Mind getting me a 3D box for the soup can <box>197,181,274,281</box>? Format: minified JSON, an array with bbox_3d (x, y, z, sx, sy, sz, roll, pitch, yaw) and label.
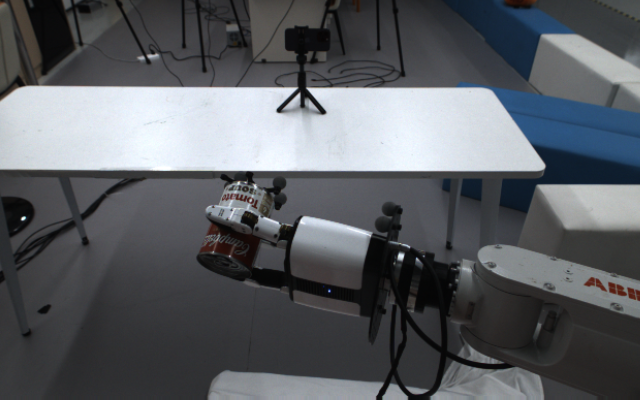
[{"bbox_3d":[-0.099,0.036,0.593,0.067,0.067,0.101,9,61,10],"label":"soup can"}]
